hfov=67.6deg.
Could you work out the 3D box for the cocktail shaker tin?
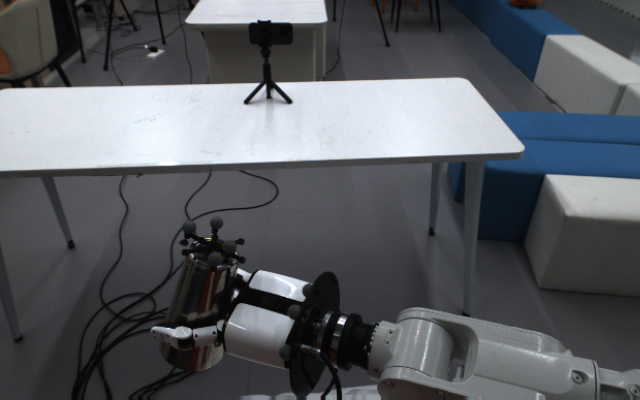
[{"bbox_3d":[-0.159,0.135,0.656,0.093,0.170,0.093,15,27,-8],"label":"cocktail shaker tin"}]
